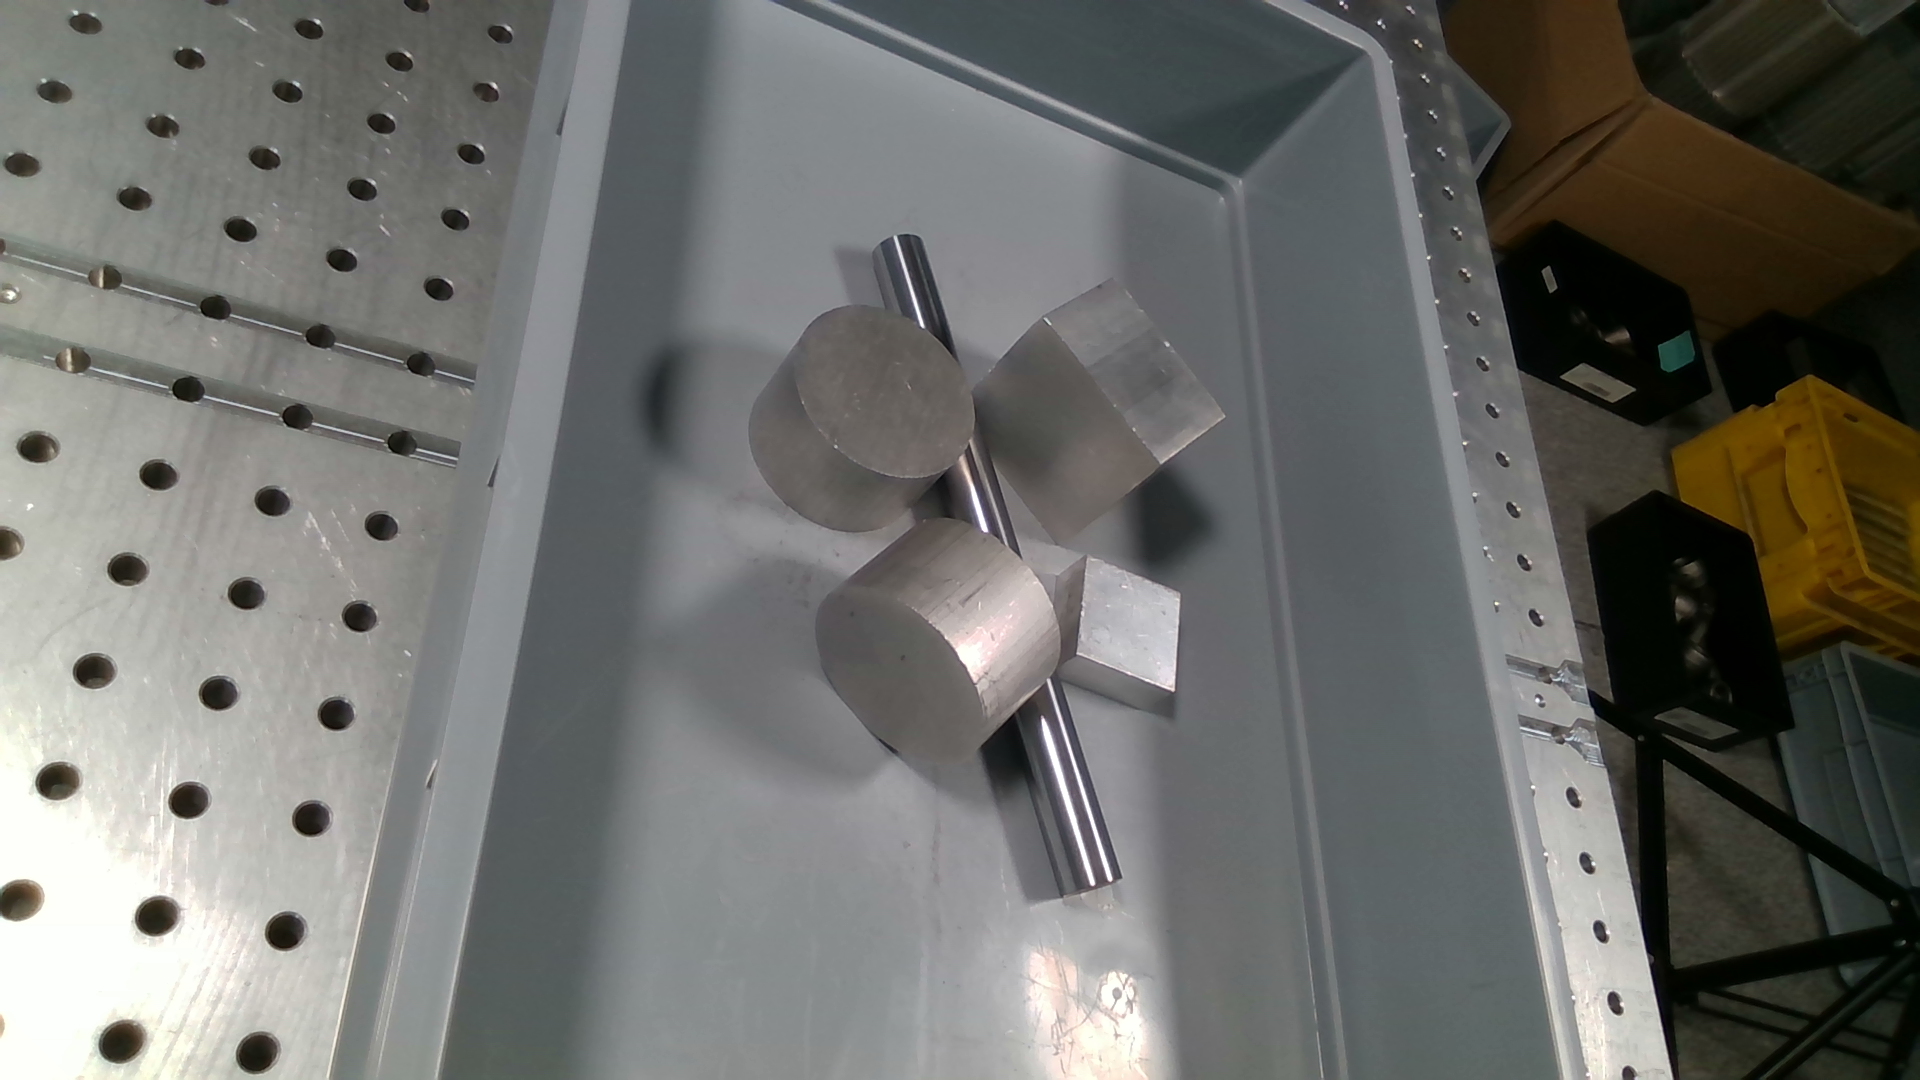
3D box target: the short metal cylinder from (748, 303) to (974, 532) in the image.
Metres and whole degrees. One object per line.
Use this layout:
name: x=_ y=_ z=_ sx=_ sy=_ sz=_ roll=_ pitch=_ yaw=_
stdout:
short metal cylinder: x=-0.041 y=-0.050 z=0.570 sx=0.080 sy=0.050 sz=0.080 roll=14 pitch=59 yaw=-25

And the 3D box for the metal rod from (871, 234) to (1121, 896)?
metal rod: x=0.011 y=0.001 z=0.591 sx=0.025 sy=0.025 sz=0.299 roll=-4 pitch=68 yaw=-33

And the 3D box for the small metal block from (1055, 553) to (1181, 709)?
small metal block: x=0.068 y=0.041 z=0.605 sx=0.050 sy=0.025 sz=0.050 roll=22 pitch=56 yaw=-20

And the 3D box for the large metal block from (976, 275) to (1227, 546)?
large metal block: x=0.057 y=-0.057 z=0.616 sx=0.050 sy=0.080 sz=0.080 roll=-35 pitch=86 yaw=-39

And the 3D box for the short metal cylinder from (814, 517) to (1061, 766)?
short metal cylinder: x=-0.009 y=0.038 z=0.524 sx=0.080 sy=0.080 sz=0.050 roll=49 pitch=51 yaw=1
